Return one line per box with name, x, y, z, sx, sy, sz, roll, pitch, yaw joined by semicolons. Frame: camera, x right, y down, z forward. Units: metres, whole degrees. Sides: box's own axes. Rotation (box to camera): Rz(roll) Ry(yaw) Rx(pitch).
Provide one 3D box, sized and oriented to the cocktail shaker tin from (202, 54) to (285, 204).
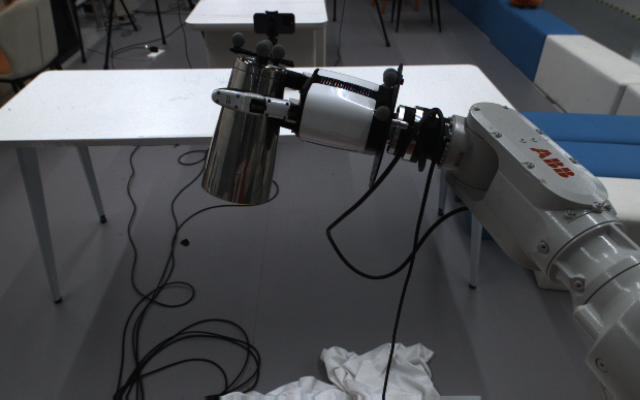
cocktail shaker tin;-0.091;-0.093;0.624;0.093;0.170;0.093;14;19;-5
